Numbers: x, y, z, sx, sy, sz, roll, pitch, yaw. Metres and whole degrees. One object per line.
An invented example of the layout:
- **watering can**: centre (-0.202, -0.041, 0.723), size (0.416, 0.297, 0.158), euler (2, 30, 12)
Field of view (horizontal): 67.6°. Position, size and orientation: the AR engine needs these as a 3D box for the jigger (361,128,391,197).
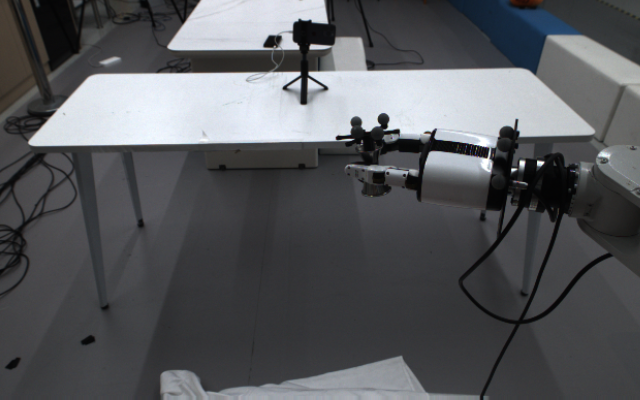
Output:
- **jigger**: centre (0.076, -0.046, 0.691), size (0.043, 0.071, 0.043), euler (-11, 23, 5)
